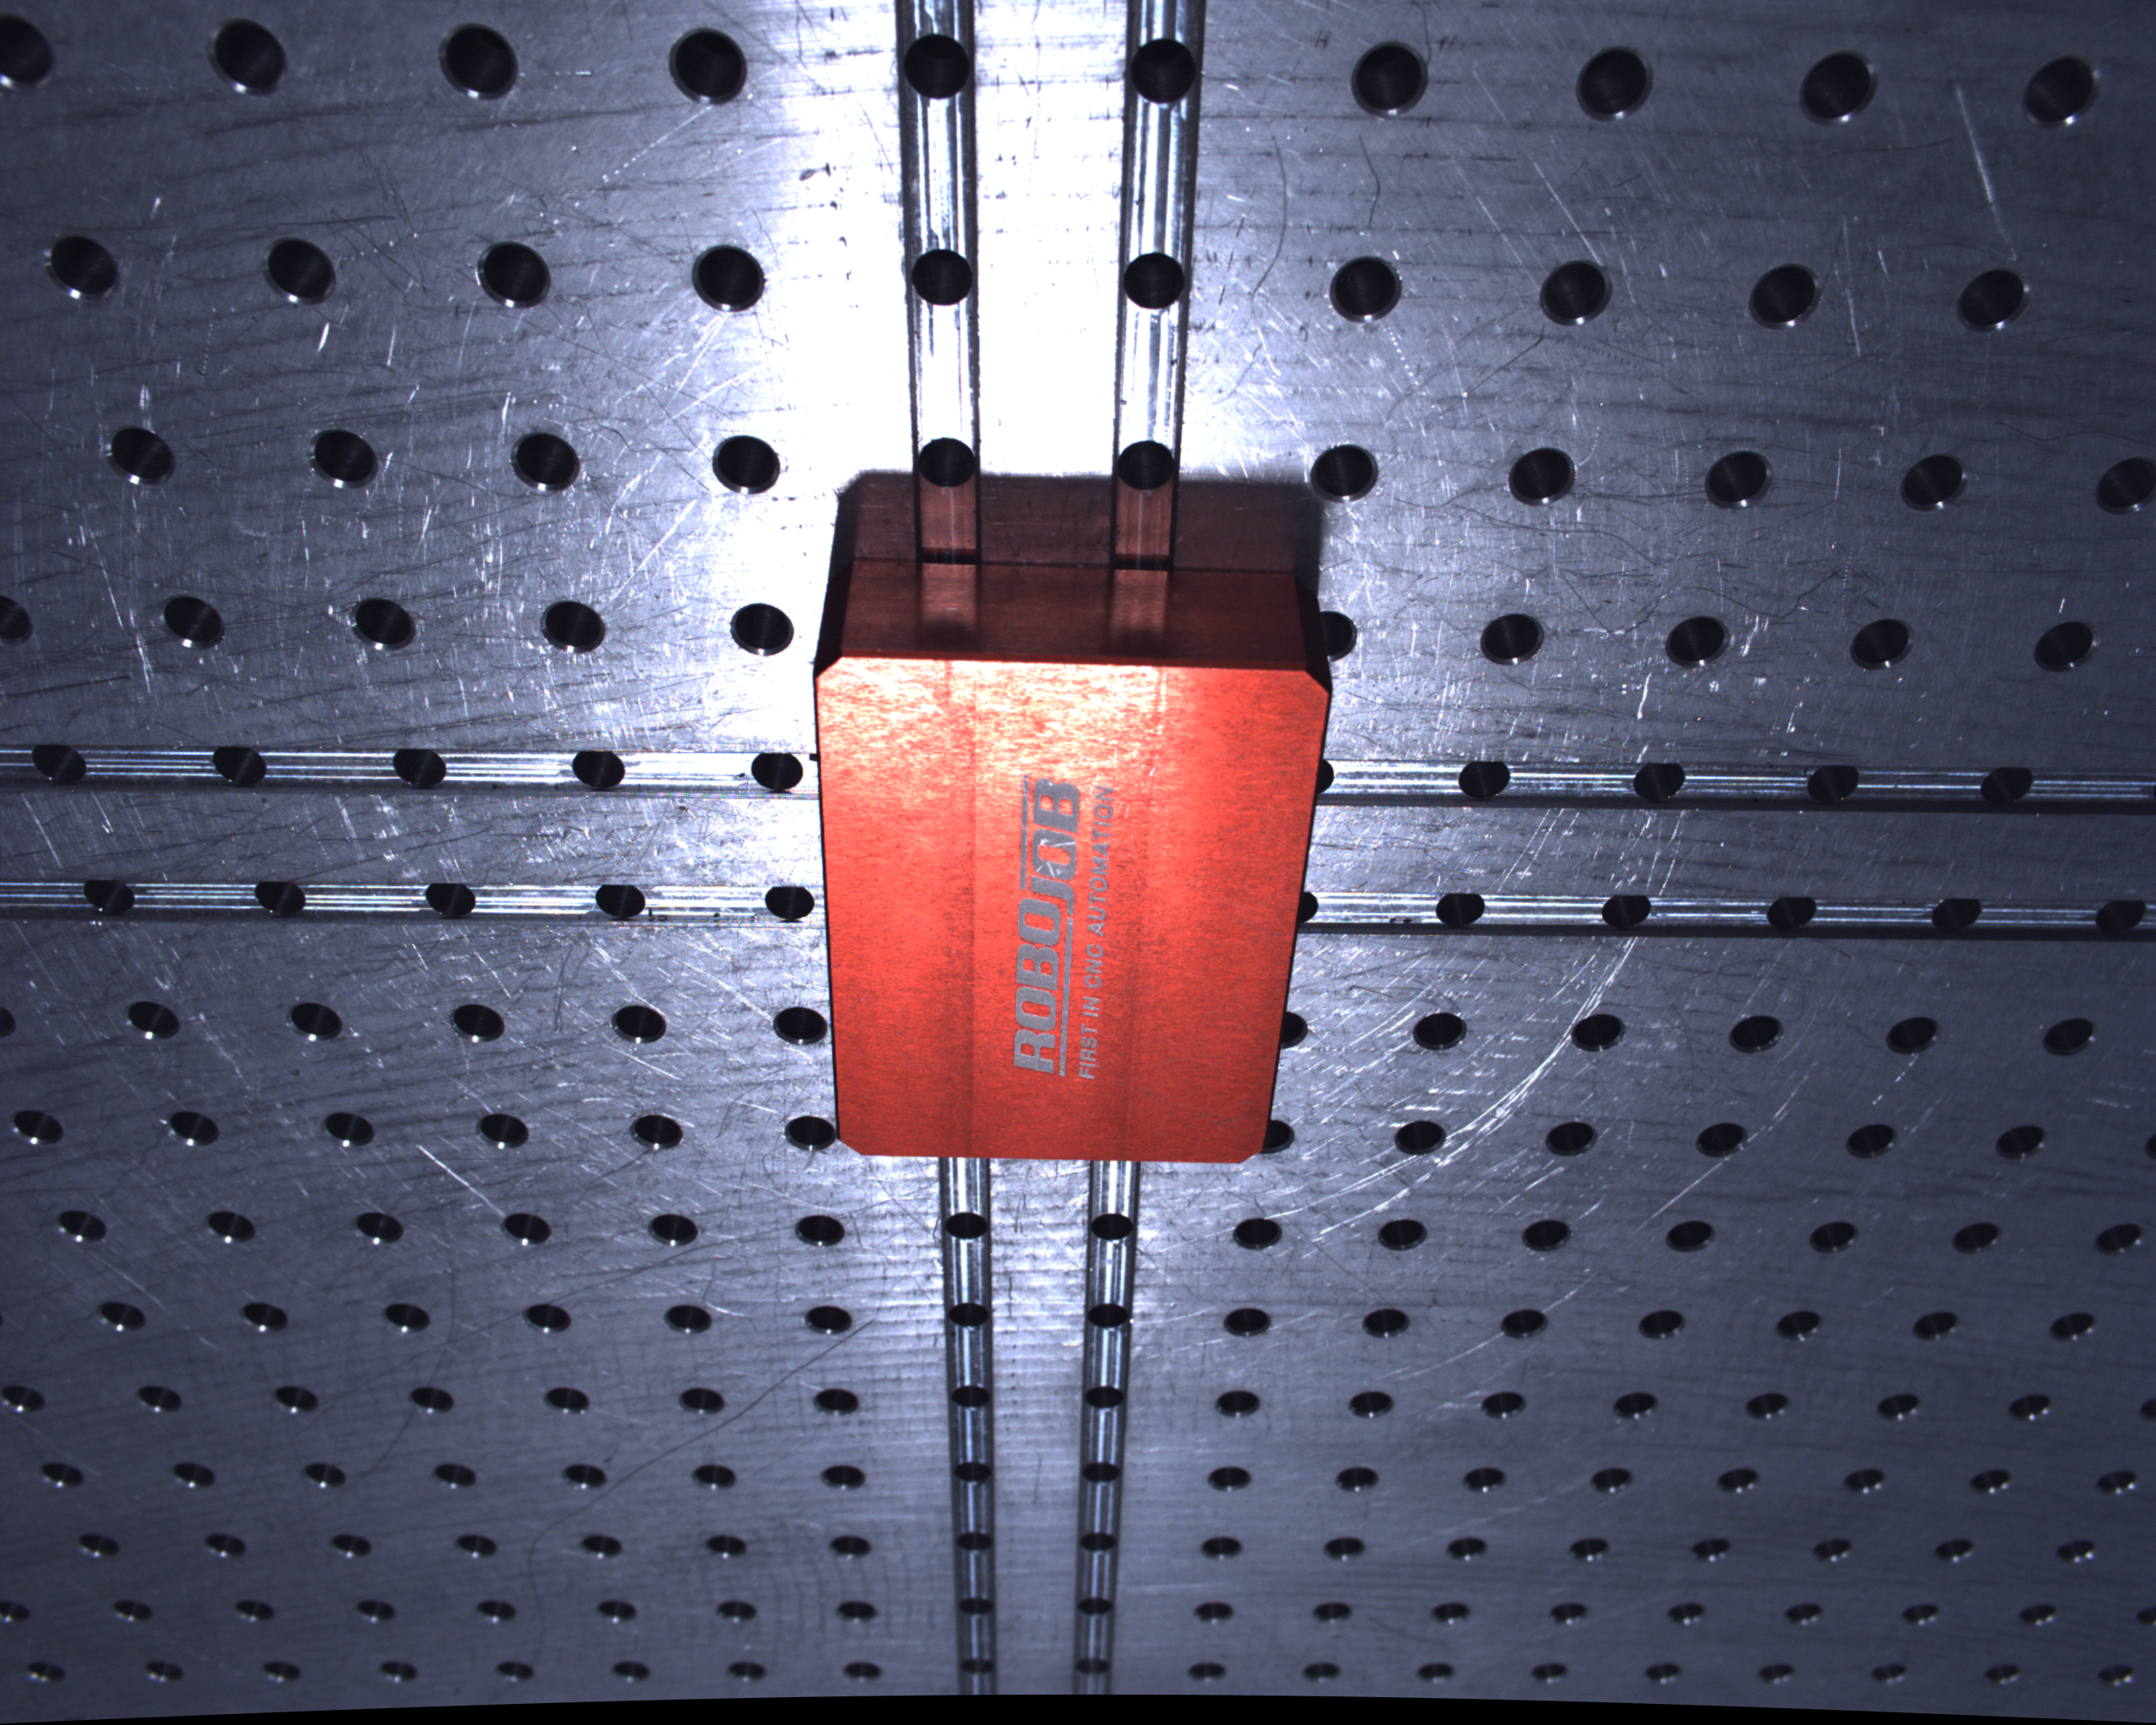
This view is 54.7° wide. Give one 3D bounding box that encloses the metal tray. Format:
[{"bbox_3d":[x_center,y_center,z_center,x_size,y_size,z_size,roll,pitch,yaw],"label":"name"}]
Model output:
[{"bbox_3d":[-0.003,0.005,0.411,0.091,0.030,0.129,1,130,-2],"label":"metal tray"}]
